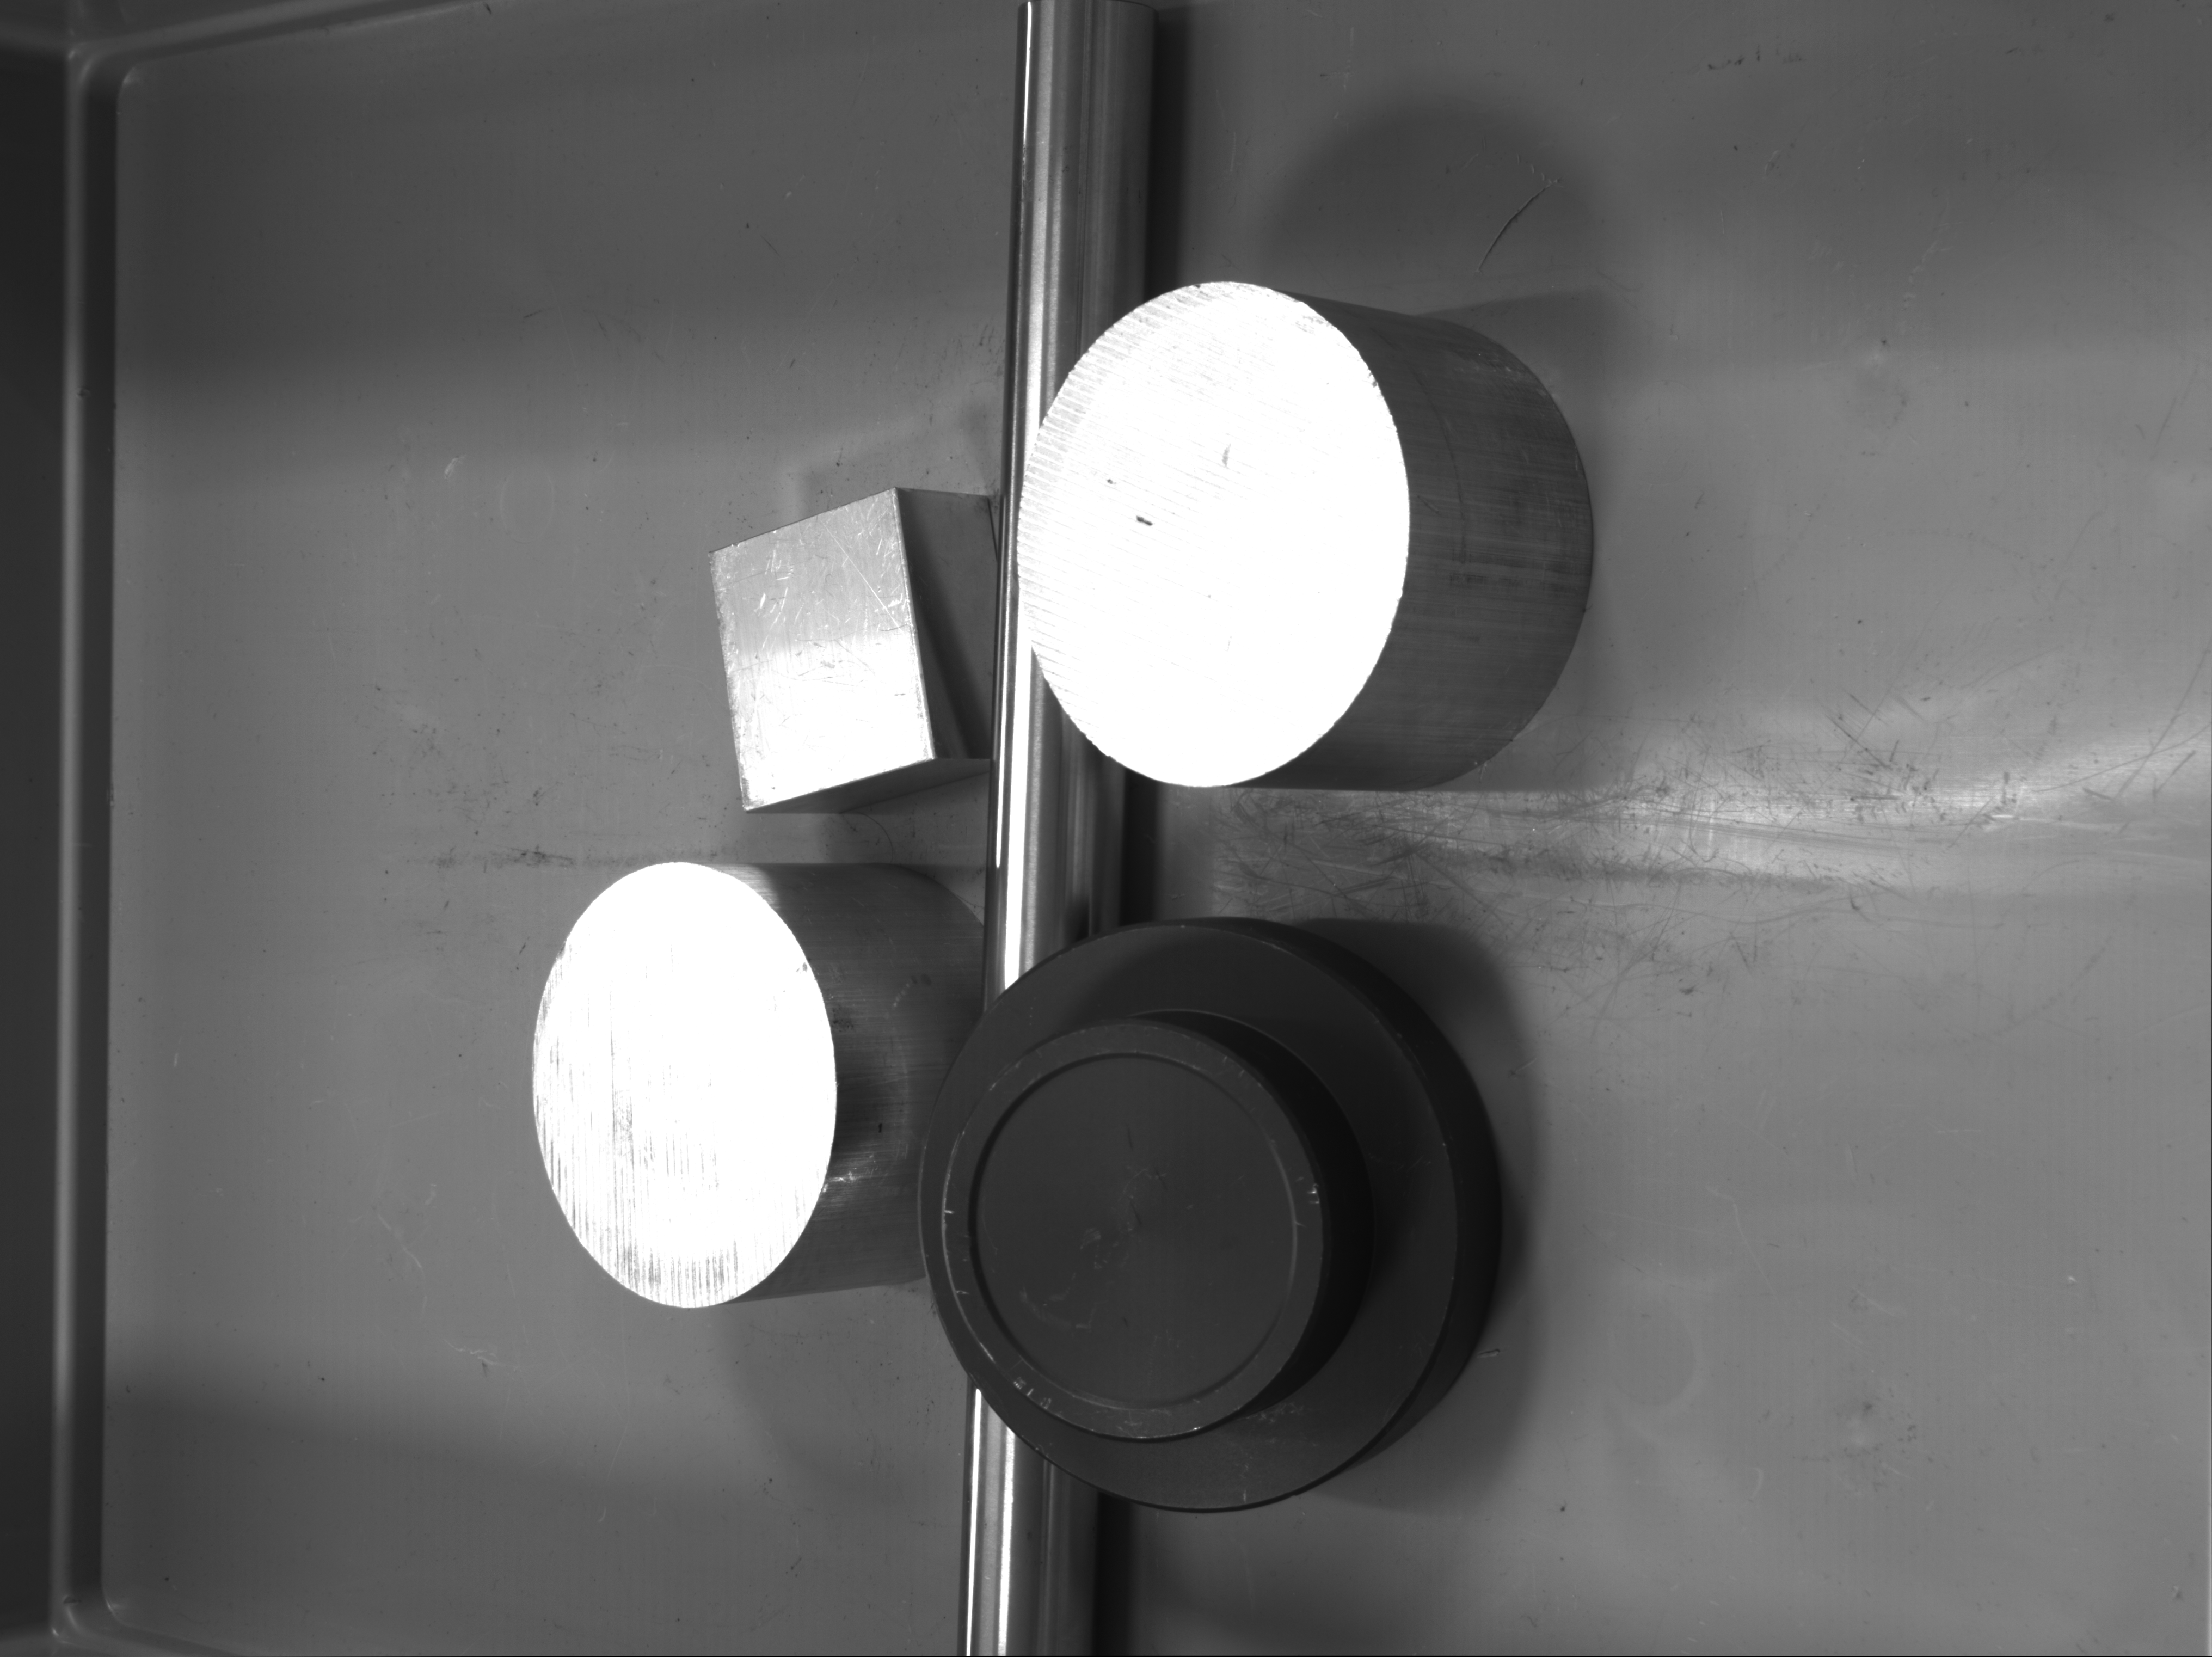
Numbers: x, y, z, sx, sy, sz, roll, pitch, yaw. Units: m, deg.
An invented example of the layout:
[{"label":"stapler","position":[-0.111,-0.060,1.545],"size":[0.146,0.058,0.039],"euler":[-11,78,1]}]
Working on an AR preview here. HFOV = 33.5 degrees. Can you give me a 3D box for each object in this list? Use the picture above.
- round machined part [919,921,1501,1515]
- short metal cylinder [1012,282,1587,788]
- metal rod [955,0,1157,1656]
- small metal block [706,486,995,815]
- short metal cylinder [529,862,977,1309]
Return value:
[{"label":"round machined part","position":[0.012,0.064,0.606],"size":[0.098,0.042,0.098],"euler":[0,89,24]},{"label":"short metal cylinder","position":[0.031,-0.046,0.601],"size":[0.080,0.050,0.080],"euler":[0,90,40]},{"label":"metal rod","position":[-0.009,0.006,0.651],"size":[0.025,0.025,0.300],"euler":[4,92,40]},{"label":"small metal block","position":[-0.045,-0.032,0.681],"size":[0.050,0.025,0.050],"euler":[-15,81,39]},{"label":"short metal cylinder","position":[-0.061,0.046,0.678],"size":[0.080,0.050,0.080],"euler":[0,90,40]}]
